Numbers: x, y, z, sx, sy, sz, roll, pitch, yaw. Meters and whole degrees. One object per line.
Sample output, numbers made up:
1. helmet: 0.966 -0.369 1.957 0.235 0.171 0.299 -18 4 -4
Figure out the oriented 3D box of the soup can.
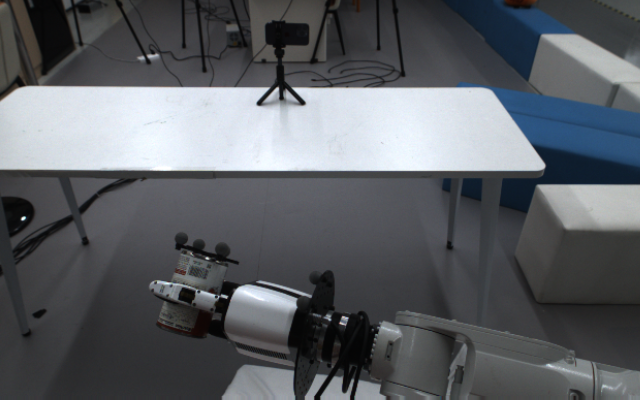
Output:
1. soup can: -0.168 0.126 0.642 0.067 0.067 0.101 13 76 16
